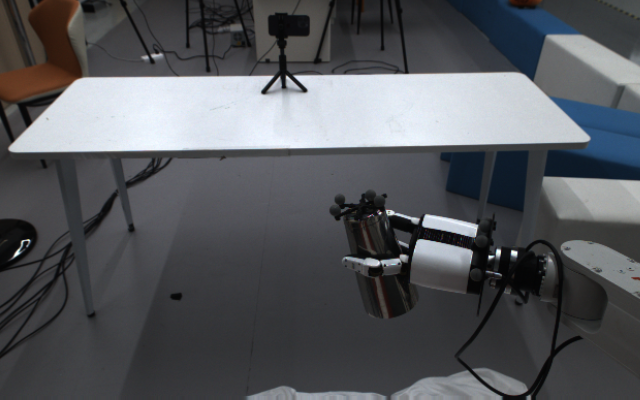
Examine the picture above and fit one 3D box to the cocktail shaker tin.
[{"bbox_3d":[0.092,0.091,0.769,0.093,0.170,0.093,-17,20,7],"label":"cocktail shaker tin"}]
